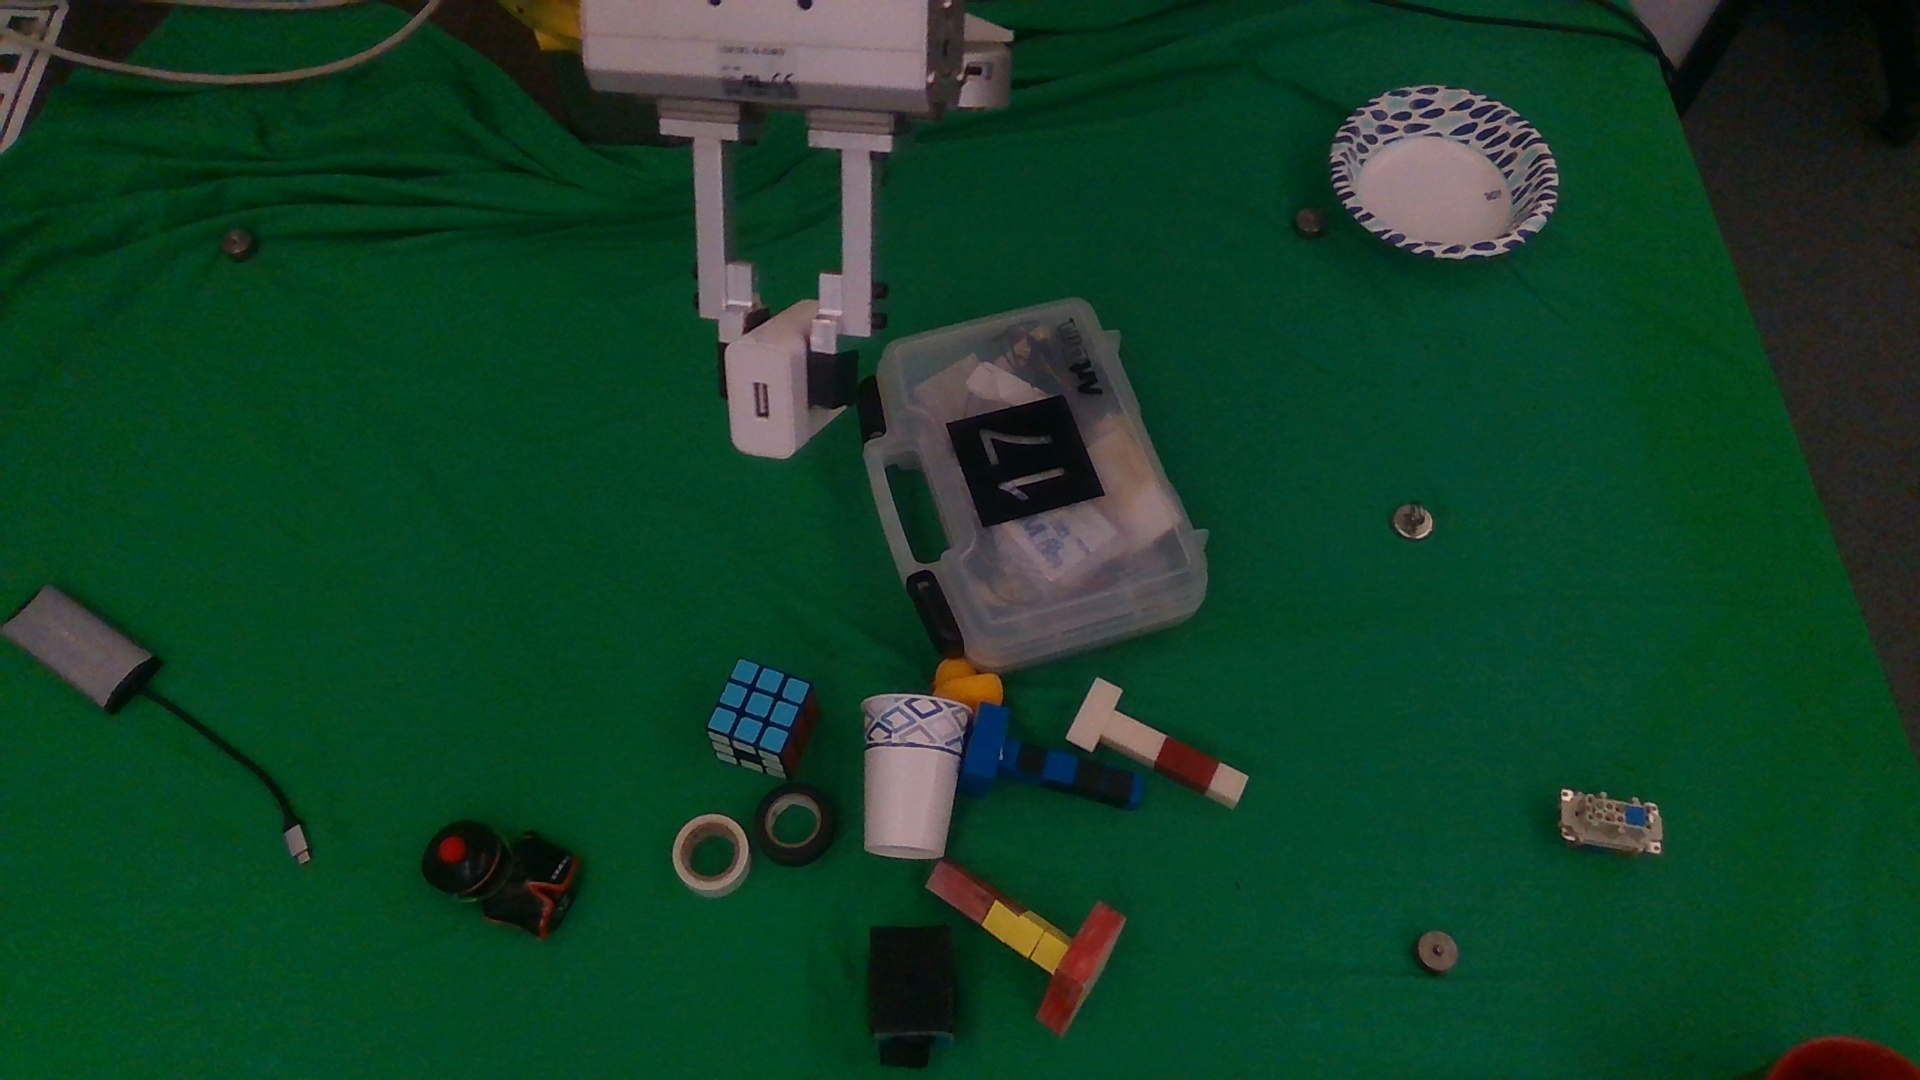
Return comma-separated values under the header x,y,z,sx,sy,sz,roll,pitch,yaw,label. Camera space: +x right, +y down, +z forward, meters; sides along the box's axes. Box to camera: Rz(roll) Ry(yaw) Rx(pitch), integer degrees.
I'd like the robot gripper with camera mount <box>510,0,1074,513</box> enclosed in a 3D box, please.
x,y,z,sx,sy,sz,roll,pitch,yaw,label
-0.025,-0.111,0.420,0.119,0.158,0.193,12,23,19,robot gripper with camera mount

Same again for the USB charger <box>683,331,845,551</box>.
x,y,z,sx,sy,sz,roll,pitch,yaw,label
-0.051,-0.032,0.392,0.029,0.044,0.075,14,33,9,USB charger
